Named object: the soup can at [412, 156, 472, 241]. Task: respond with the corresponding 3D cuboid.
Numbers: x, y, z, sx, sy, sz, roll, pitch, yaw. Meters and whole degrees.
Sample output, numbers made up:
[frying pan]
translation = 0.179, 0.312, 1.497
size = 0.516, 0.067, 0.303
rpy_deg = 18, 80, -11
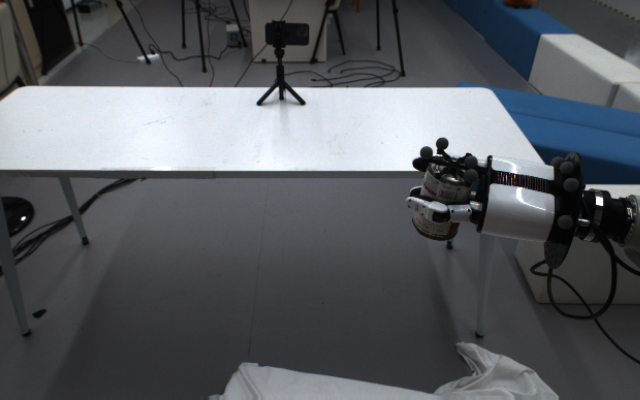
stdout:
[soup can]
translation = 0.176, -0.003, 0.687
size = 0.067, 0.101, 0.067
rpy_deg = 5, 36, -3
